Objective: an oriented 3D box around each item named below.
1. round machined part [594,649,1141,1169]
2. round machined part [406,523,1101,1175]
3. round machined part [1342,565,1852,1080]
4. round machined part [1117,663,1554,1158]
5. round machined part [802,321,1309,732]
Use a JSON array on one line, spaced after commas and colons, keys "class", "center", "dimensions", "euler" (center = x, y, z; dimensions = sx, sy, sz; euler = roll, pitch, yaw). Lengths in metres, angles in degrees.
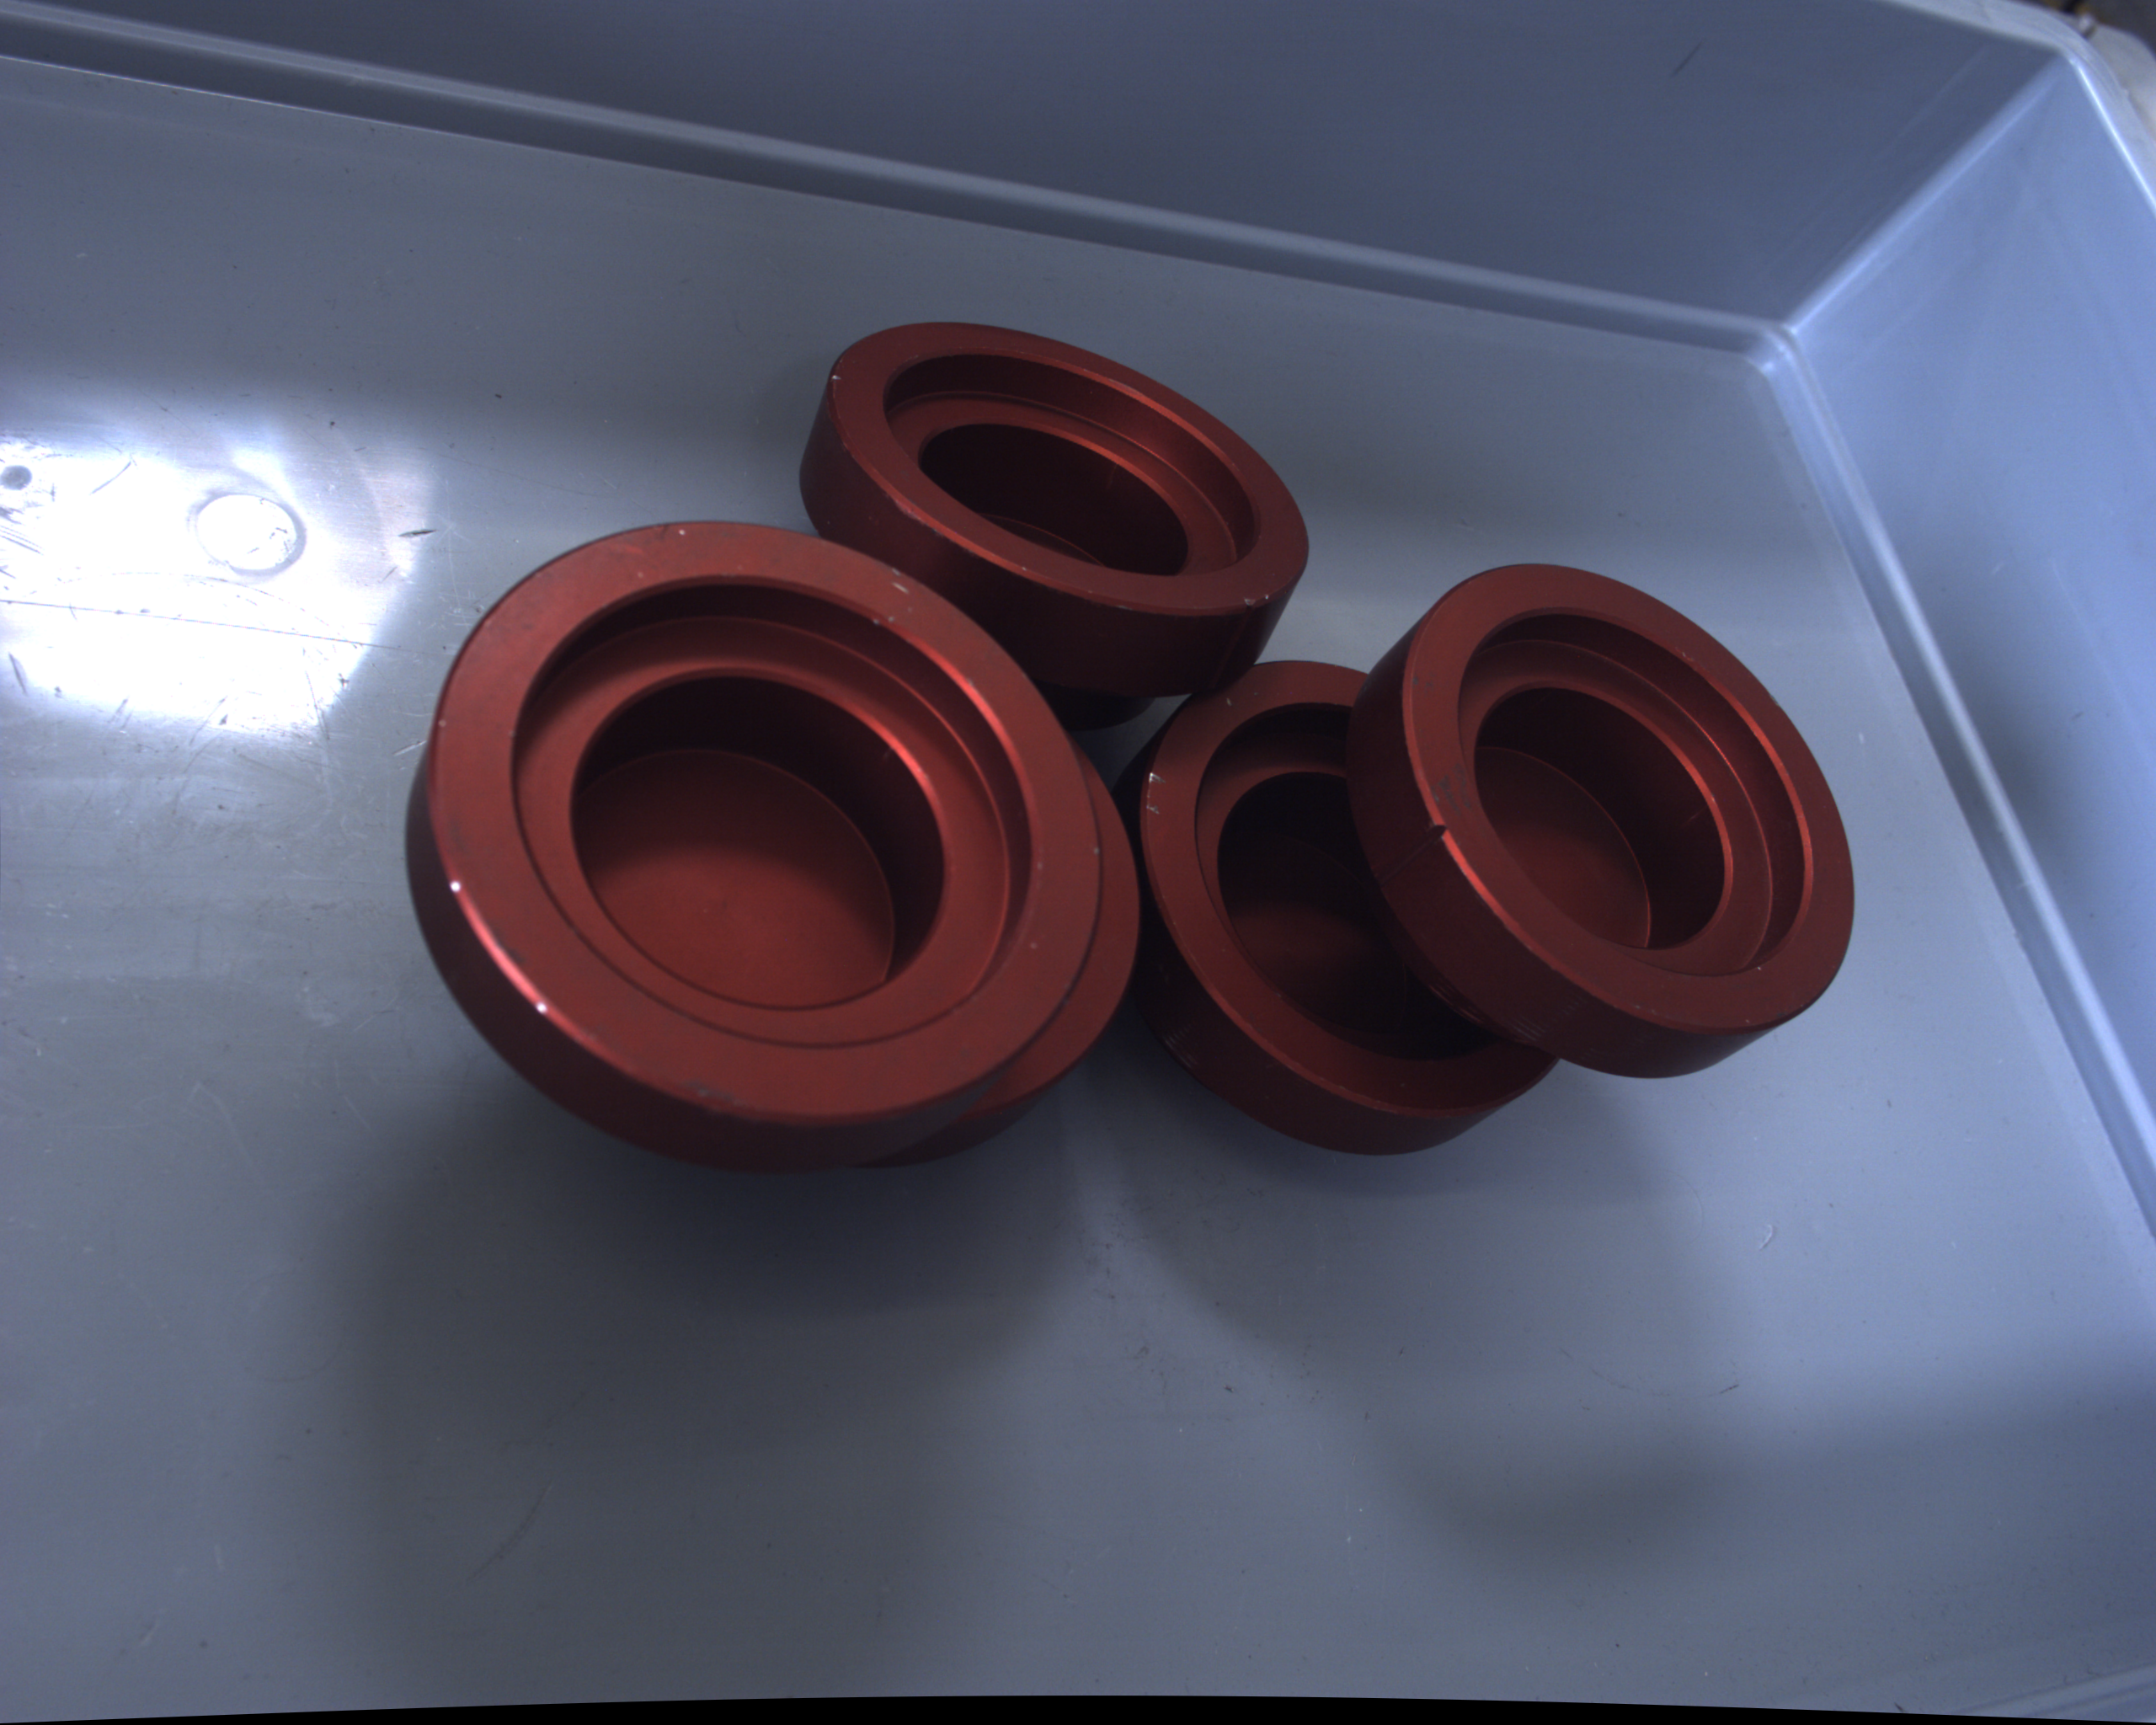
[{"class": "round machined part", "center": [-0.042, 0.008, 0.365], "dimensions": [0.099, 0.042, 0.098], "euler": [14, 56, -21]}, {"class": "round machined part", "center": [-0.050, 0.001, 0.312], "dimensions": [0.099, 0.042, 0.098], "euler": [14, 56, -21]}, {"class": "round machined part", "center": [0.092, -0.004, 0.391], "dimensions": [0.099, 0.042, 0.098], "euler": [14, 56, -21]}, {"class": "round machined part", "center": [0.048, 0.012, 0.411], "dimensions": [0.099, 0.042, 0.098], "euler": [14, 56, -21]}, {"class": "round machined part", "center": [-0.007, -0.063, 0.415], "dimensions": [0.099, 0.042, 0.098], "euler": [16, 38, -13]}]
